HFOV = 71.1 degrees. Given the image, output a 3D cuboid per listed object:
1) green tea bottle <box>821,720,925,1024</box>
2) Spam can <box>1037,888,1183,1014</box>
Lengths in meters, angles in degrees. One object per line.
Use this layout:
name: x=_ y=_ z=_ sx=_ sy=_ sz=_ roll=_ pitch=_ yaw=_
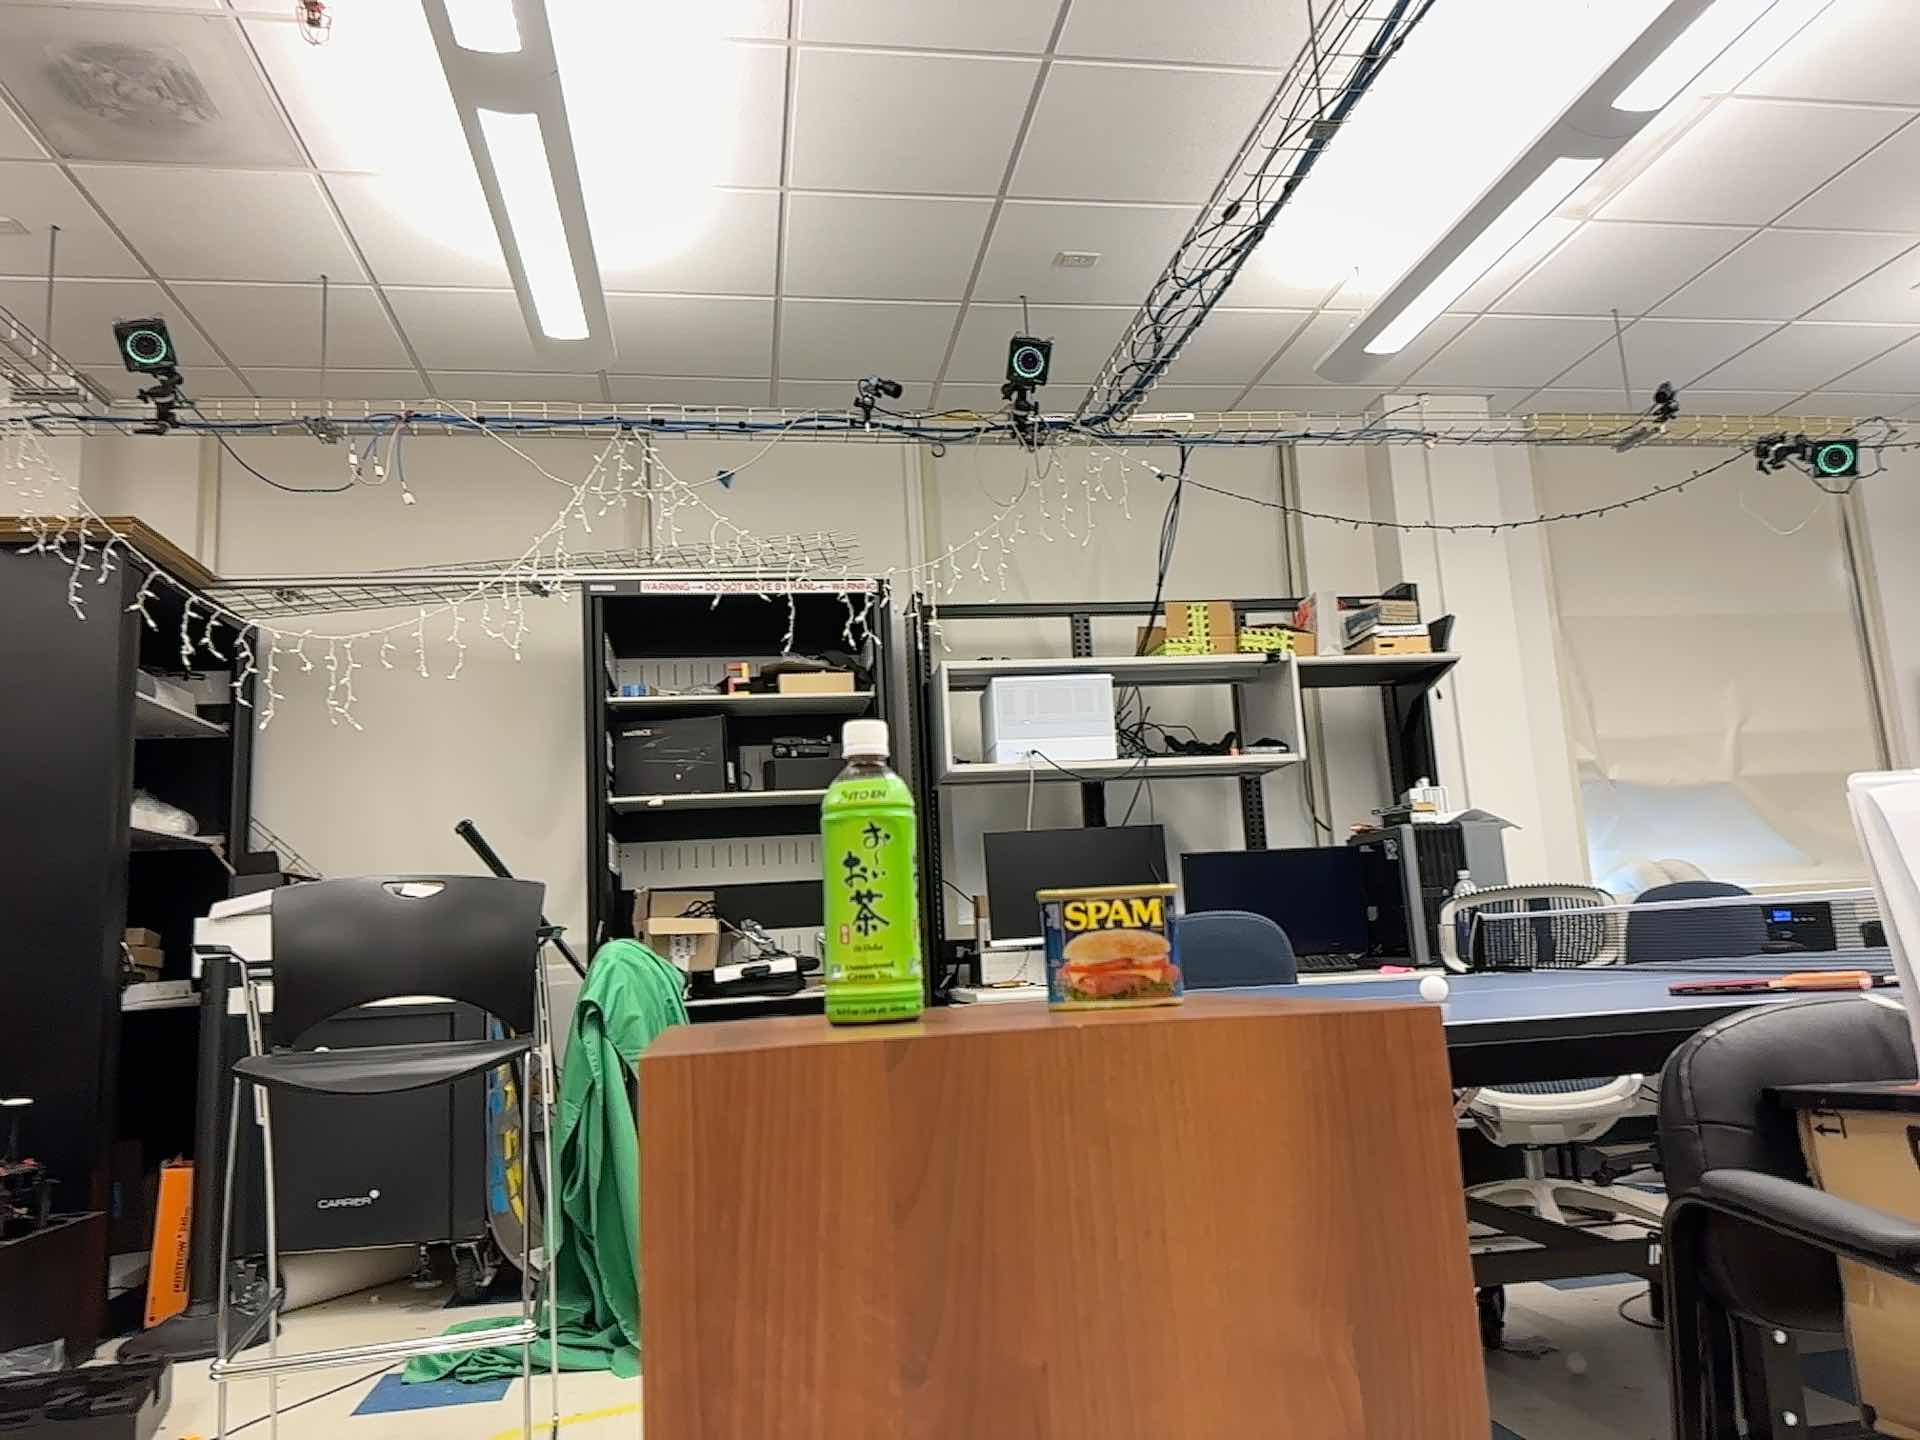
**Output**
green tea bottle: x=-0.065 y=0.106 z=0.952 sx=0.073 sy=0.212 sz=0.073 roll=-5 pitch=-12 yaw=-1
Spam can: x=0.110 y=0.170 z=0.986 sx=0.100 sy=0.083 sz=0.056 roll=-3 pitch=-11 yaw=-1
